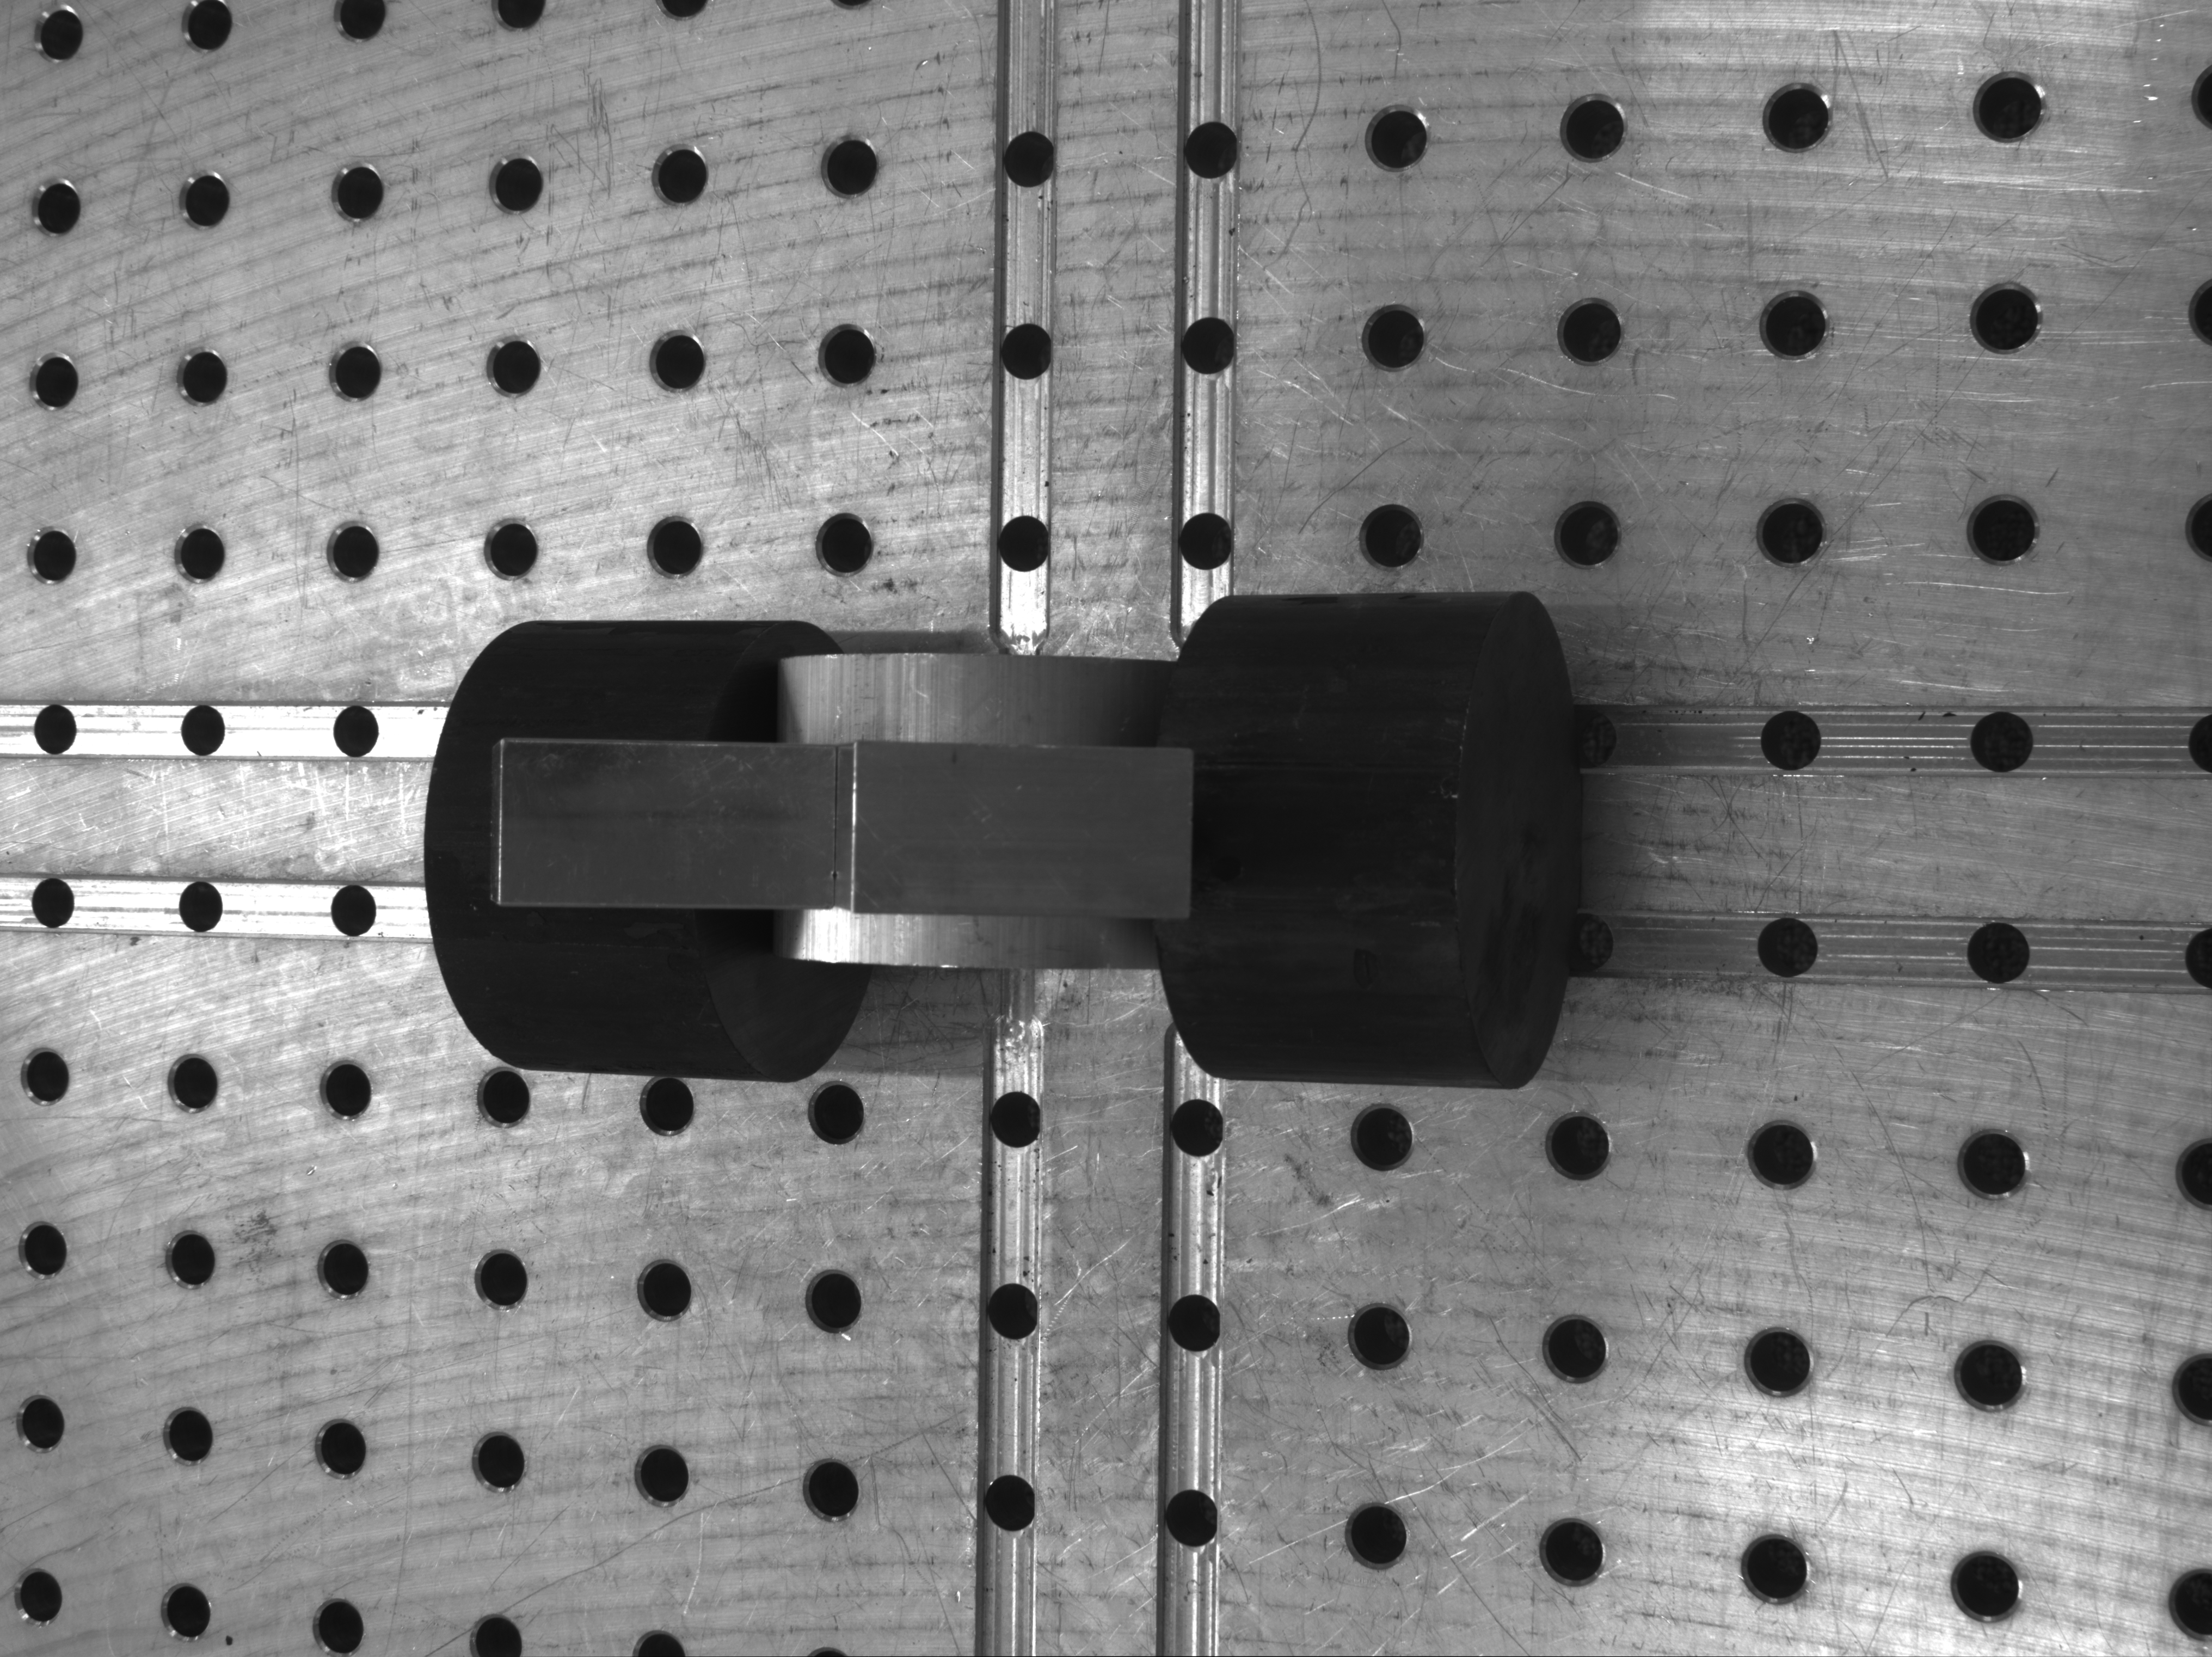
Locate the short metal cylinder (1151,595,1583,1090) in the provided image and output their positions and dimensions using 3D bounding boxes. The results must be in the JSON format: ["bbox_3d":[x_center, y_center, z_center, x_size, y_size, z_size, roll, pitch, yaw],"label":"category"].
[{"bbox_3d":[0.044,0.002,0.603,0.050,0.080,0.080,1,90,21],"label":"short metal cylinder"}]

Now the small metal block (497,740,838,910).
[{"bbox_3d":[-0.070,-0.001,0.575,0.050,0.050,0.025,1,90,-11],"label":"small metal block"}]

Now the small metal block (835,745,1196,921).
[{"bbox_3d":[-0.016,0.001,0.560,0.050,0.050,0.025,1,90,-10],"label":"small metal block"}]

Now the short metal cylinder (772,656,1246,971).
[{"bbox_3d":[-0.016,-0.003,0.626,0.080,0.080,0.050,1,90,20],"label":"short metal cylinder"}]

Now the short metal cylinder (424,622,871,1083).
[{"bbox_3d":[-0.077,0.004,0.648,0.050,0.080,0.080,1,90,20],"label":"short metal cylinder"}]
